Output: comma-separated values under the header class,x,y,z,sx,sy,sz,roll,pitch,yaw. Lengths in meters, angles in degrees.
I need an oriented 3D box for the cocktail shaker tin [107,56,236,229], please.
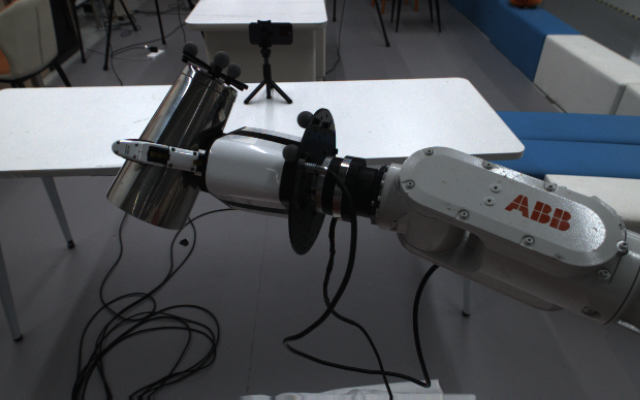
class,x,y,z,sx,sy,sz,roll,pitch,yaw
cocktail shaker tin,-0.160,-0.064,0.552,0.093,0.170,0.093,27,2,-1
